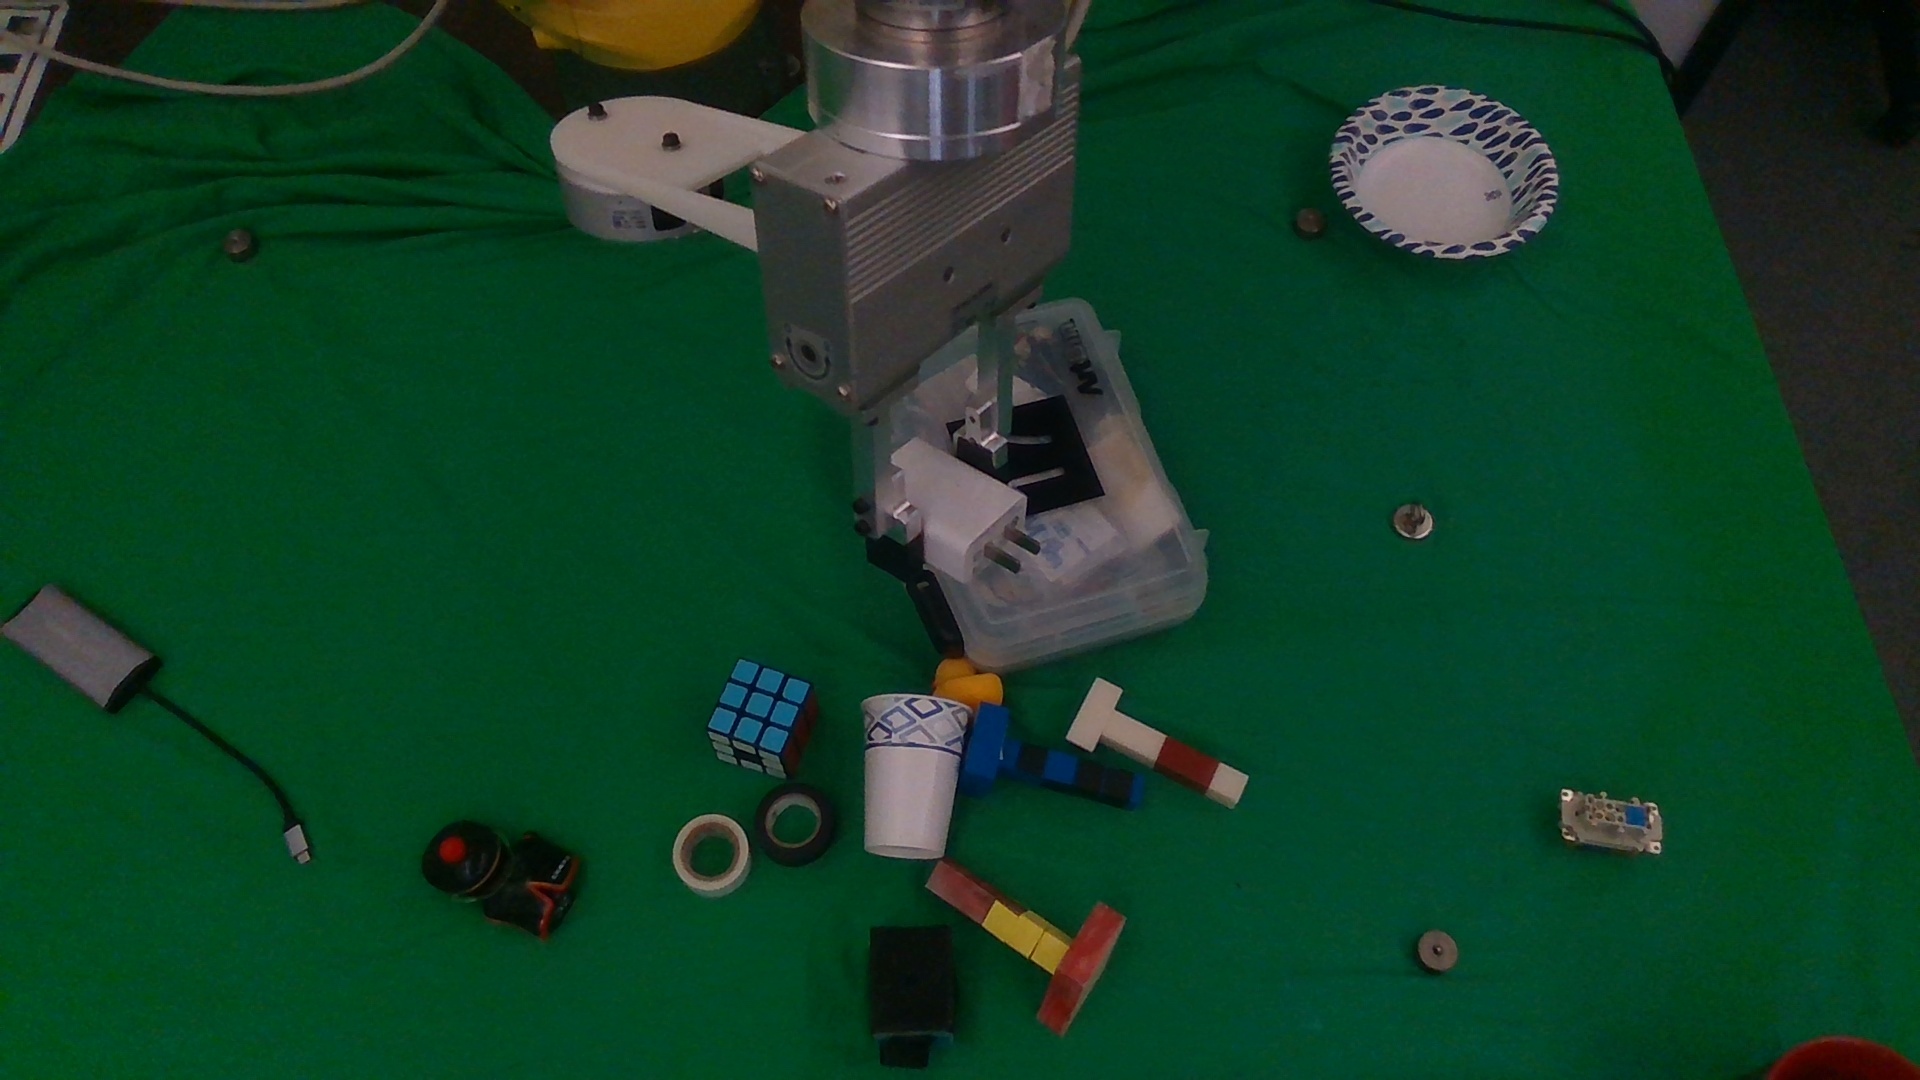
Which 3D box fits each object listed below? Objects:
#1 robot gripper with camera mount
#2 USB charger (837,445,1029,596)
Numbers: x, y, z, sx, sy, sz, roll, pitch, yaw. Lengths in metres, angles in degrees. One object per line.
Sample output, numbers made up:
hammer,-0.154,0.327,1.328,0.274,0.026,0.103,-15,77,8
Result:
robot gripper with camera mount,-0.075,-0.094,0.515,0.194,0.158,0.118,29,49,25
USB charger,-0.006,-0.004,0.529,0.076,0.029,0.044,32,58,33
